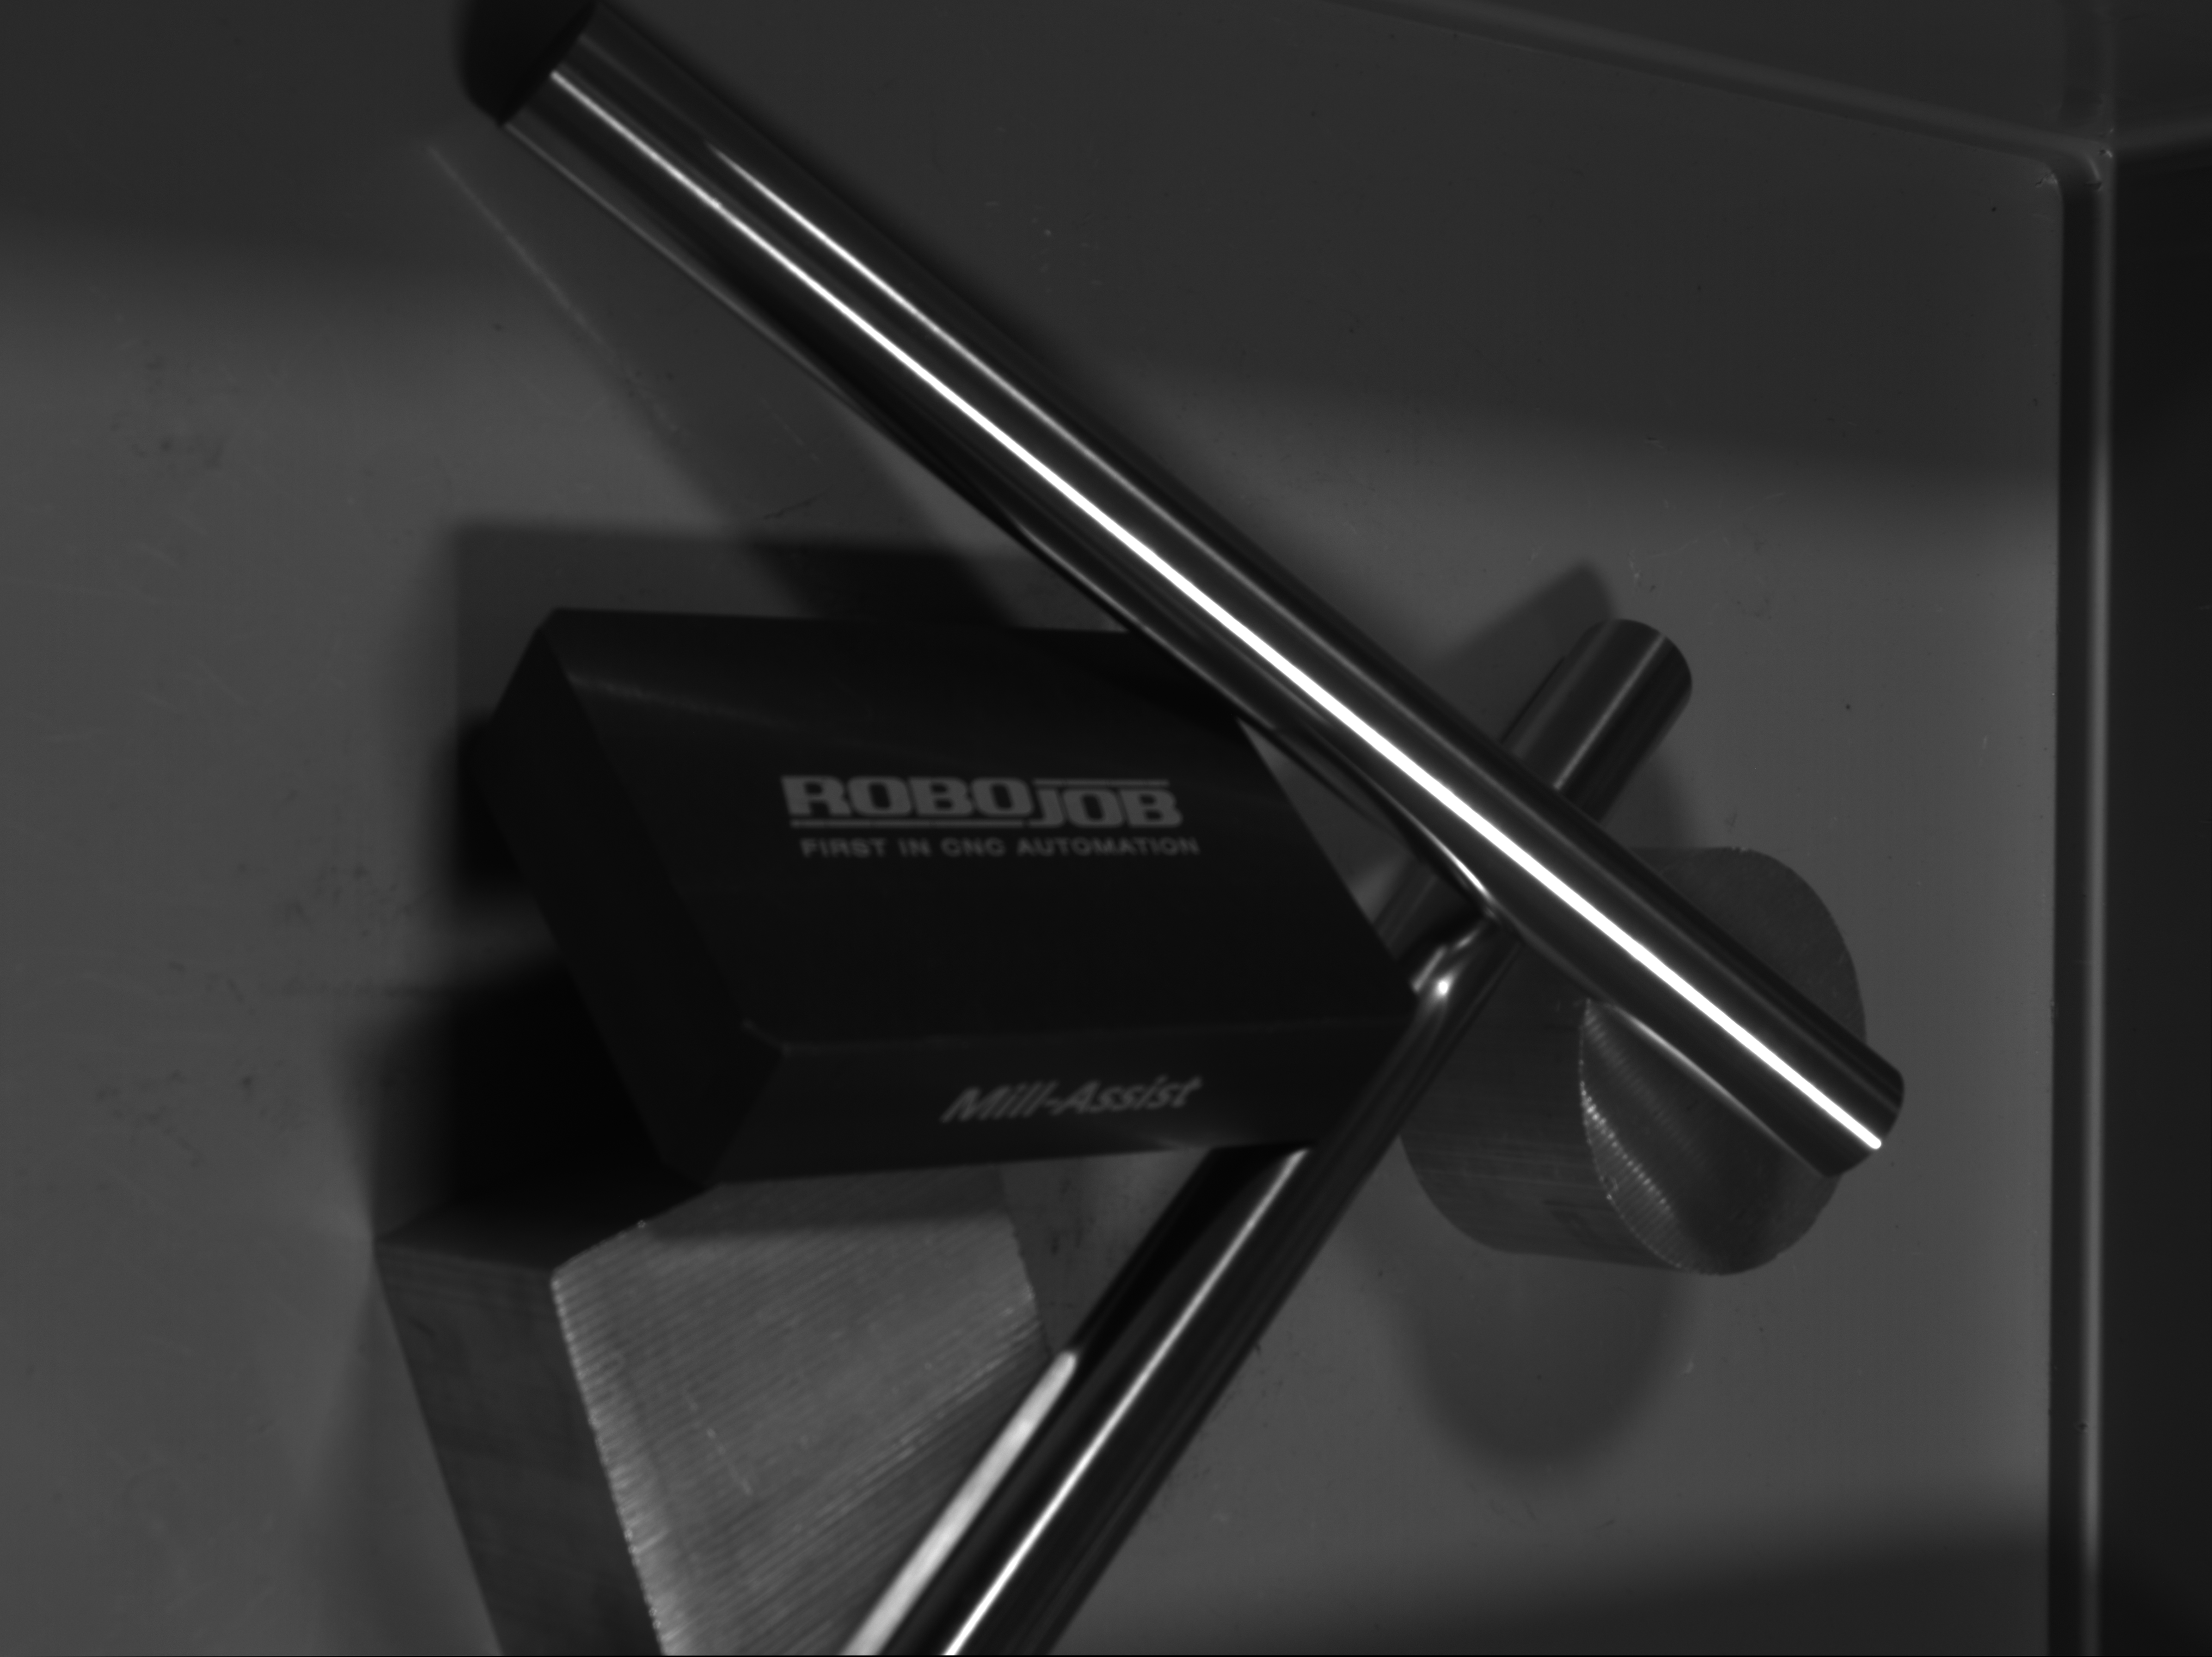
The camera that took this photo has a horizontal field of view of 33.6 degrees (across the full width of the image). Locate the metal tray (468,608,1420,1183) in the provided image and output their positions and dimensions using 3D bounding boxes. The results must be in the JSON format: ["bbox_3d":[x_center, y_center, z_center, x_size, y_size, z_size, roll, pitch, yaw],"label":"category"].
[{"bbox_3d":[-0.024,0.009,0.577,0.130,0.030,0.090,0,46,-38],"label":"metal tray"}]

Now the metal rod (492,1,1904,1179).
[{"bbox_3d":[0.024,-0.033,0.618,0.301,0.025,0.025,38,66,-20],"label":"metal rod"}]

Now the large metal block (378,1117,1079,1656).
[{"bbox_3d":[-0.055,0.088,0.569,0.080,0.050,0.080,-24,105,-37],"label":"large metal block"}]

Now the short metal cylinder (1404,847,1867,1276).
[{"bbox_3d":[0.101,0.043,0.702,0.080,0.050,0.080,0,90,-40],"label":"short metal cylinder"}]

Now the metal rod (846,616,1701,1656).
[{"bbox_3d":[0.036,0.052,0.618,0.300,0.025,0.025,-50,120,-44],"label":"metal rod"}]
